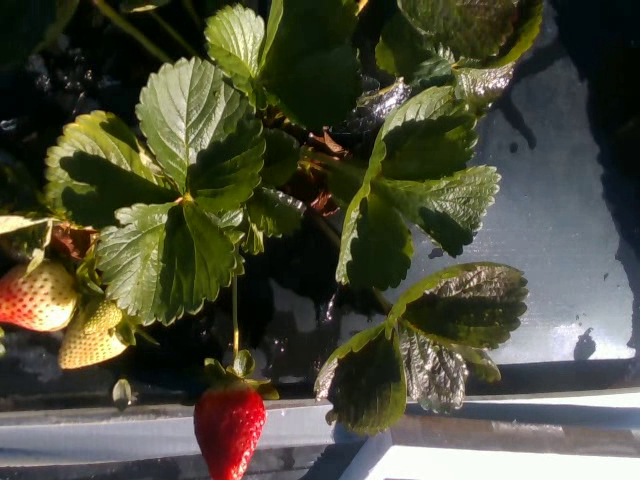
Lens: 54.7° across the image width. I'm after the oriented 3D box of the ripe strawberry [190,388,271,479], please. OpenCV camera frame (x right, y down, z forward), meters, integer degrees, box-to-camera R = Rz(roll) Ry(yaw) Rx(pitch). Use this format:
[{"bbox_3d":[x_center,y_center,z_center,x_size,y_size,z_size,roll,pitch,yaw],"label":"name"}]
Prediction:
[{"bbox_3d":[-0.040,0.083,0.260,0.036,0.046,0.038,10,-30,-11],"label":"ripe strawberry"}]
